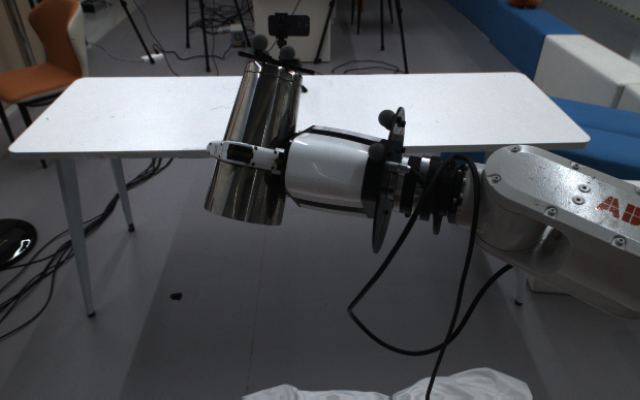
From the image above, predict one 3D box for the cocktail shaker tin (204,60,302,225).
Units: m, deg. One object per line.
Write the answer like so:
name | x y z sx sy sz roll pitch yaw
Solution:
cocktail shaker tin | -0.069 -0.064 0.556 0.093 0.170 0.093 13 4 -1
